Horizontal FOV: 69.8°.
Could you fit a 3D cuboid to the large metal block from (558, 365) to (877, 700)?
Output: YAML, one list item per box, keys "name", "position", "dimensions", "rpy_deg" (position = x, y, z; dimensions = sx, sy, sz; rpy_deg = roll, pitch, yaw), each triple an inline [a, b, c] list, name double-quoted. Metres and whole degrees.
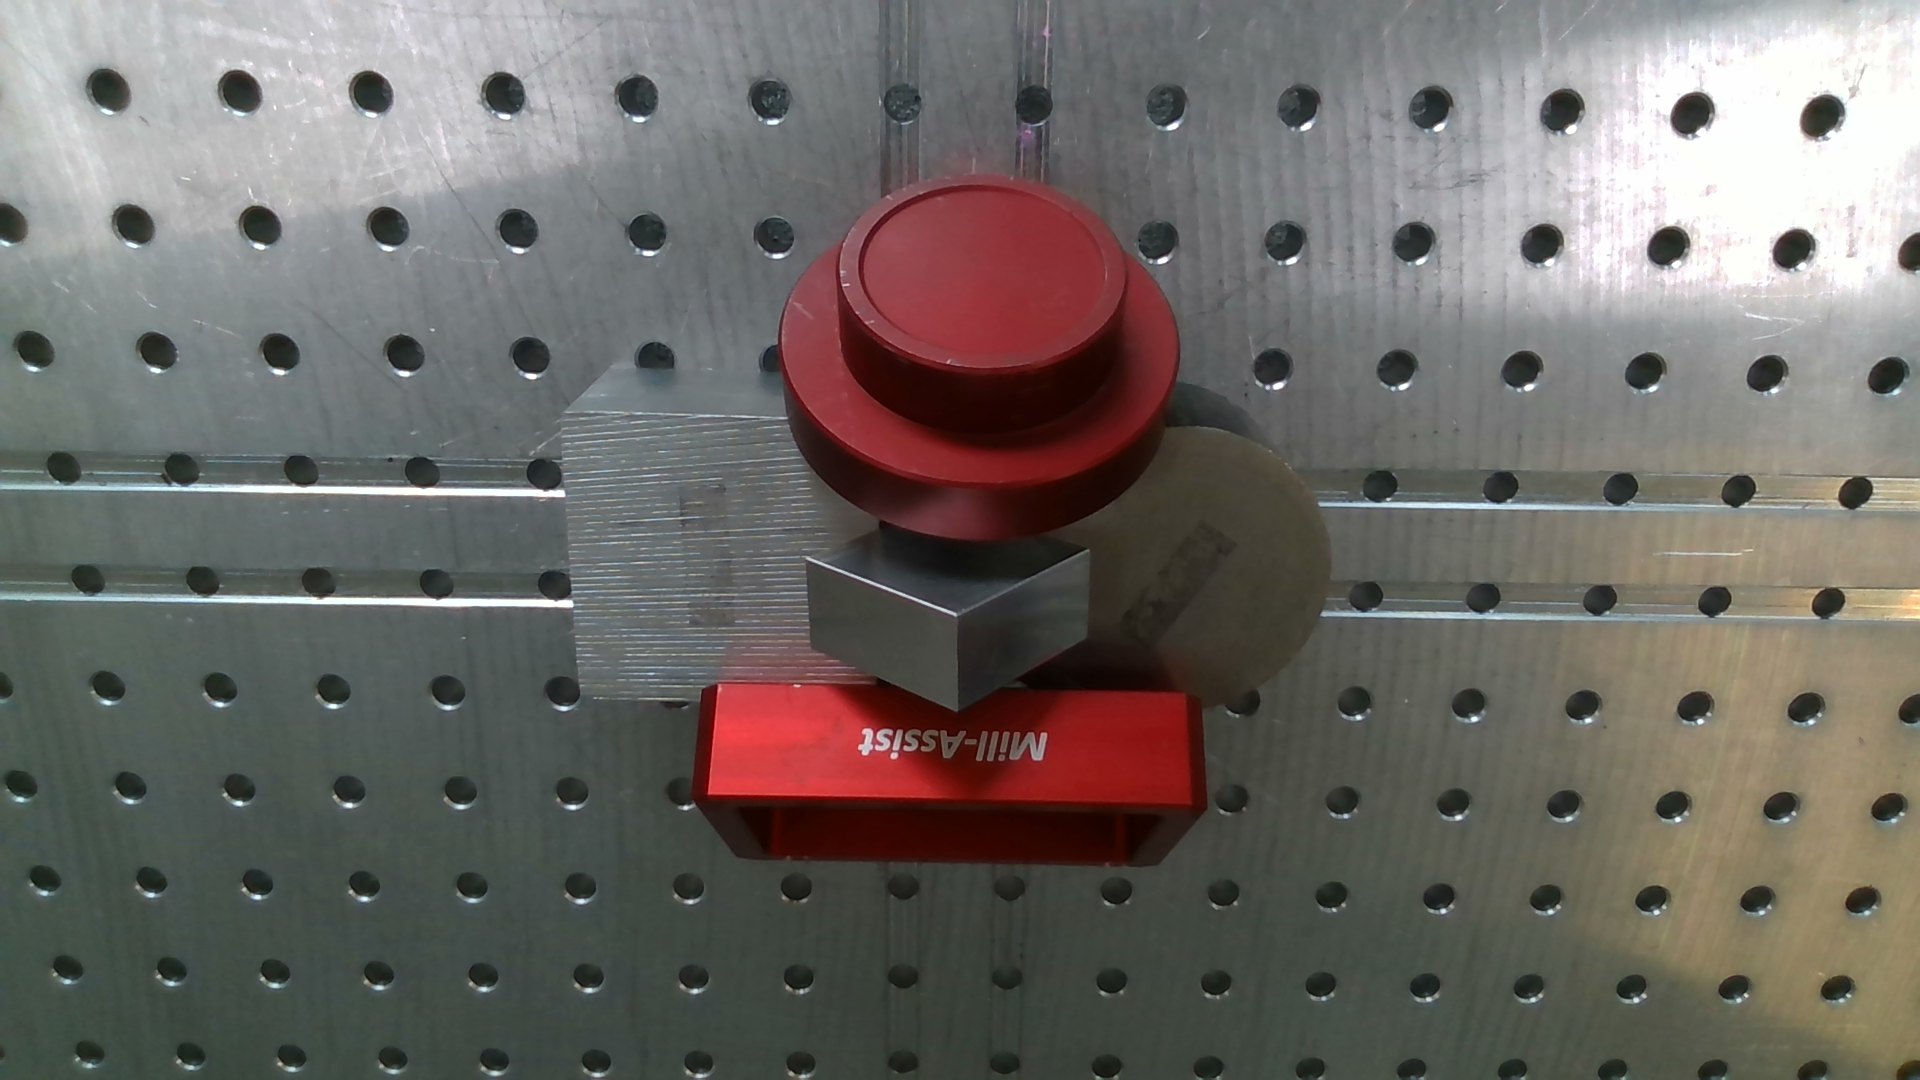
- name: "large metal block"
  position: [-0.062, -0.003, 0.382]
  dimensions: [0.080, 0.050, 0.080]
  rpy_deg: [2, 110, -1]

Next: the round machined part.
- name: "round machined part"
  position: [0.004, -0.052, 0.334]
  dimensions: [0.098, 0.098, 0.042]
  rpy_deg: [1, 143, 0]

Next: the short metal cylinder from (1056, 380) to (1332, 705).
- name: "short metal cylinder"
  position: [0.057, 0.000, 0.382]
  dimensions: [0.080, 0.050, 0.080]
  rpy_deg: [0, 110, 0]

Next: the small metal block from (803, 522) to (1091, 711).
- name: "small metal block"
  position: [-0.003, 0.014, 0.343]
  dimensions: [0.050, 0.050, 0.025]
  rpy_deg: [19, 120, 38]

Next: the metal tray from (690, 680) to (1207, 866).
- name: "metal tray"
  position: [-0.003, 0.068, 0.388]
  dimensions: [0.130, 0.090, 0.030]
  rpy_deg: [1, 67, -1]
